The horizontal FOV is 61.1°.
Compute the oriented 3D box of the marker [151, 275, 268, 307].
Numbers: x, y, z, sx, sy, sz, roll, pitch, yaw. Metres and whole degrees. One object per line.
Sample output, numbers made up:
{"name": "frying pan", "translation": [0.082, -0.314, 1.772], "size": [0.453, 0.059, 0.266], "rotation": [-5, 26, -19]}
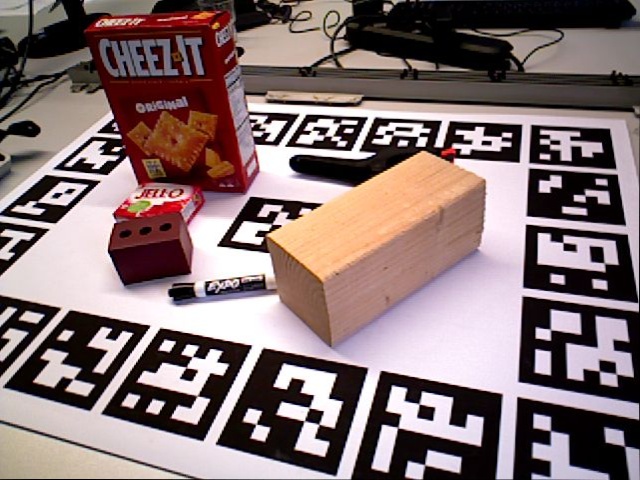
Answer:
{"name": "marker", "translation": [-0.113, 0.052, 0.556], "size": [0.121, 0.020, 0.019], "rotation": [-8, 43, 4]}

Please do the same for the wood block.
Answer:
{"name": "wood block", "translation": [0.056, 0.003, 0.529], "size": [0.202, 0.093, 0.090], "rotation": [-29, 42, -24]}

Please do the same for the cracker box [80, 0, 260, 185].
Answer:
{"name": "cracker box", "translation": [-0.175, -0.173, 0.668], "size": [0.164, 0.218, 0.070], "rotation": [5, 42, 14]}

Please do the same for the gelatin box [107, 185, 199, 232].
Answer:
{"name": "gelatin box", "translation": [-0.205, -0.035, 0.671], "size": [0.090, 0.031, 0.072], "rotation": [5, 45, 17]}

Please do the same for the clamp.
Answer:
{"name": "clamp", "translation": [0.064, -0.081, 0.657], "size": [0.201, 0.037, 0.163], "rotation": [-15, 42, -5]}

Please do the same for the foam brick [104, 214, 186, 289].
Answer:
{"name": "foam brick", "translation": [-0.191, 0.012, 0.594], "size": [0.078, 0.052, 0.052], "rotation": [-11, 43, 0]}
